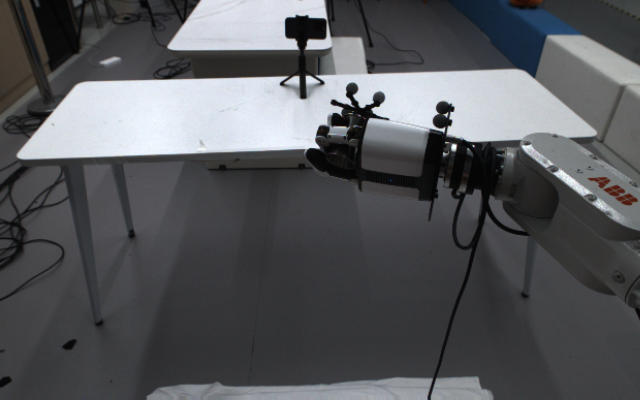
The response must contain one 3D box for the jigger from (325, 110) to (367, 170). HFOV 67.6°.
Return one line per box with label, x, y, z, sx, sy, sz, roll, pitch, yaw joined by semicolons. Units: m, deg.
jigger;0.040;-0.086;0.683;0.043;0.043;0.071;16;70;19
